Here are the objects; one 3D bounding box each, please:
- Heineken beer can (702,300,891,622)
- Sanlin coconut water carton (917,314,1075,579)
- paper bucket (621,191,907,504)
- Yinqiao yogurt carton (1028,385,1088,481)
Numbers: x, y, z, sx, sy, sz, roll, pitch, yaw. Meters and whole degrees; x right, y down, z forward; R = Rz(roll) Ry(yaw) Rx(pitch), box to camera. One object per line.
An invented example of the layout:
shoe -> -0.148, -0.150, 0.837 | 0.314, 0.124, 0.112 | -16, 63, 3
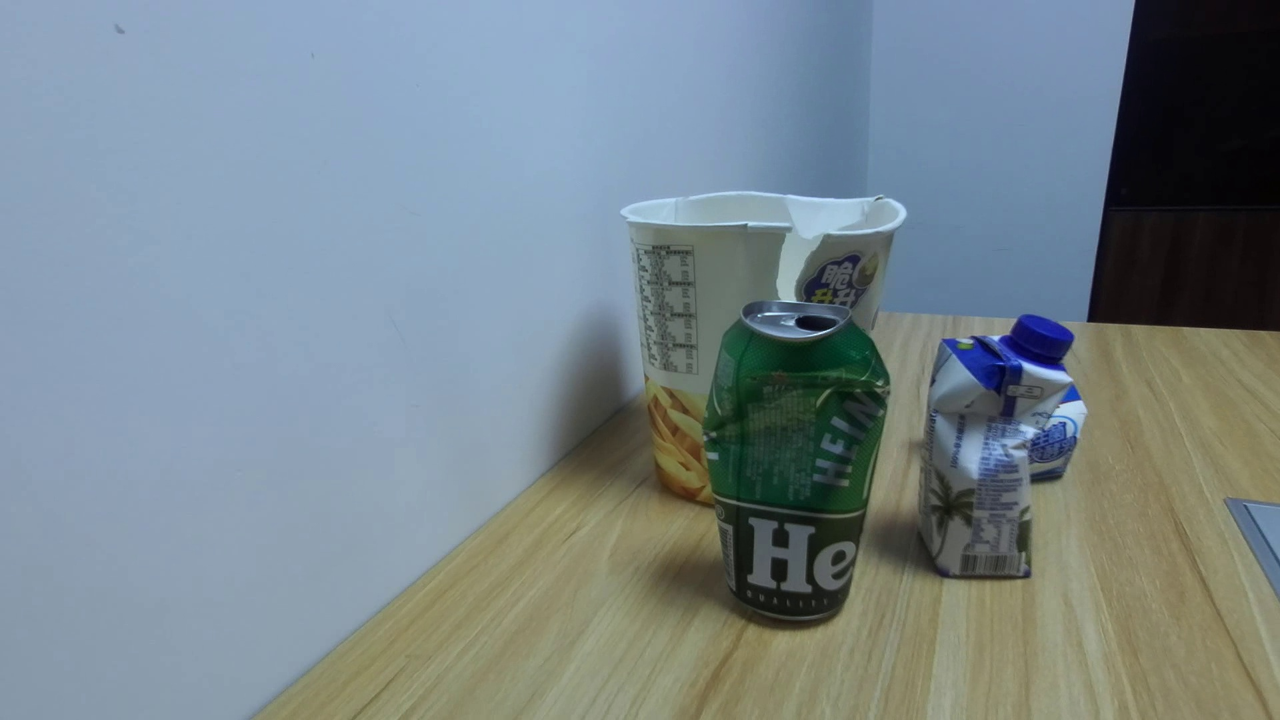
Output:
Heineken beer can -> 0.076, 0.053, 0.367 | 0.066, 0.164, 0.077 | -16, 25, -28
Sanlin coconut water carton -> 0.194, 0.048, 0.393 | 0.070, 0.144, 0.061 | 0, 21, 6
paper bucket -> 0.080, -0.013, 0.499 | 0.202, 0.197, 0.146 | 10, 24, 37
Yinqiao yogurt carton -> 0.266, 0.032, 0.501 | 0.074, 0.097, 0.080 | -5, 26, -8
